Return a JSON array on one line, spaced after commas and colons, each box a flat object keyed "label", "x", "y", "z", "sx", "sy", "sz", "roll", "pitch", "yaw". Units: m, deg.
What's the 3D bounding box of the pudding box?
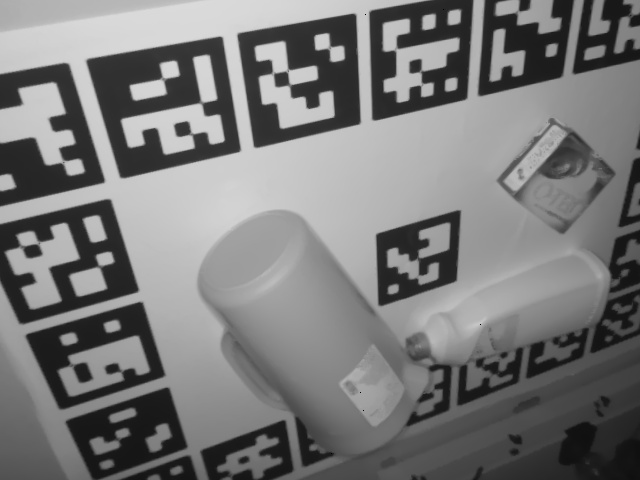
[{"label": "pudding box", "x": 0.283, "y": -0.064, "z": 0.741, "sx": 0.115, "sy": 0.038, "sz": 0.089, "roll": 29, "pitch": 110, "yaw": -32}]

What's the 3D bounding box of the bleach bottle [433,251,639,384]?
[{"label": "bleach bottle", "x": 0.251, "y": 0.101, "z": 0.813, "sx": 0.253, "sy": 0.068, "sz": 0.102, "roll": -19, "pitch": 119, "yaw": -11}]

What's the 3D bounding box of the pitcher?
[{"label": "pitcher", "x": -0.001, "y": 0.093, "z": 0.679, "sx": 0.186, "sy": 0.135, "sz": 0.243, "roll": -18, "pitch": 126, "yaw": 29}]
